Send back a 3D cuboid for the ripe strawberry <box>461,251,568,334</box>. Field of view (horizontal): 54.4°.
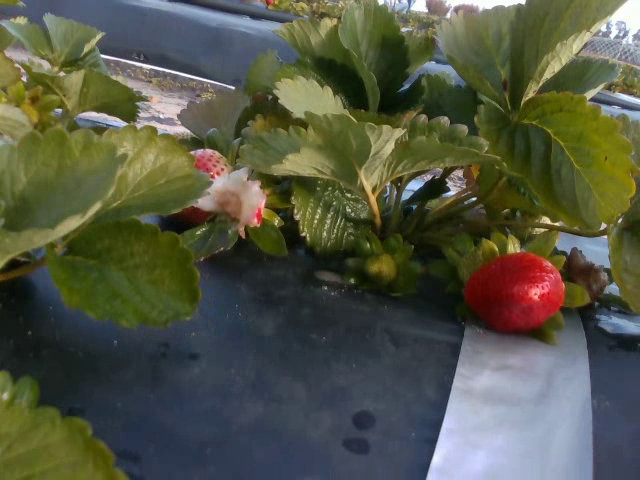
[{"bbox_3d":[0.077,0.018,0.232,0.050,0.036,0.055,28,25,17],"label":"ripe strawberry"}]
